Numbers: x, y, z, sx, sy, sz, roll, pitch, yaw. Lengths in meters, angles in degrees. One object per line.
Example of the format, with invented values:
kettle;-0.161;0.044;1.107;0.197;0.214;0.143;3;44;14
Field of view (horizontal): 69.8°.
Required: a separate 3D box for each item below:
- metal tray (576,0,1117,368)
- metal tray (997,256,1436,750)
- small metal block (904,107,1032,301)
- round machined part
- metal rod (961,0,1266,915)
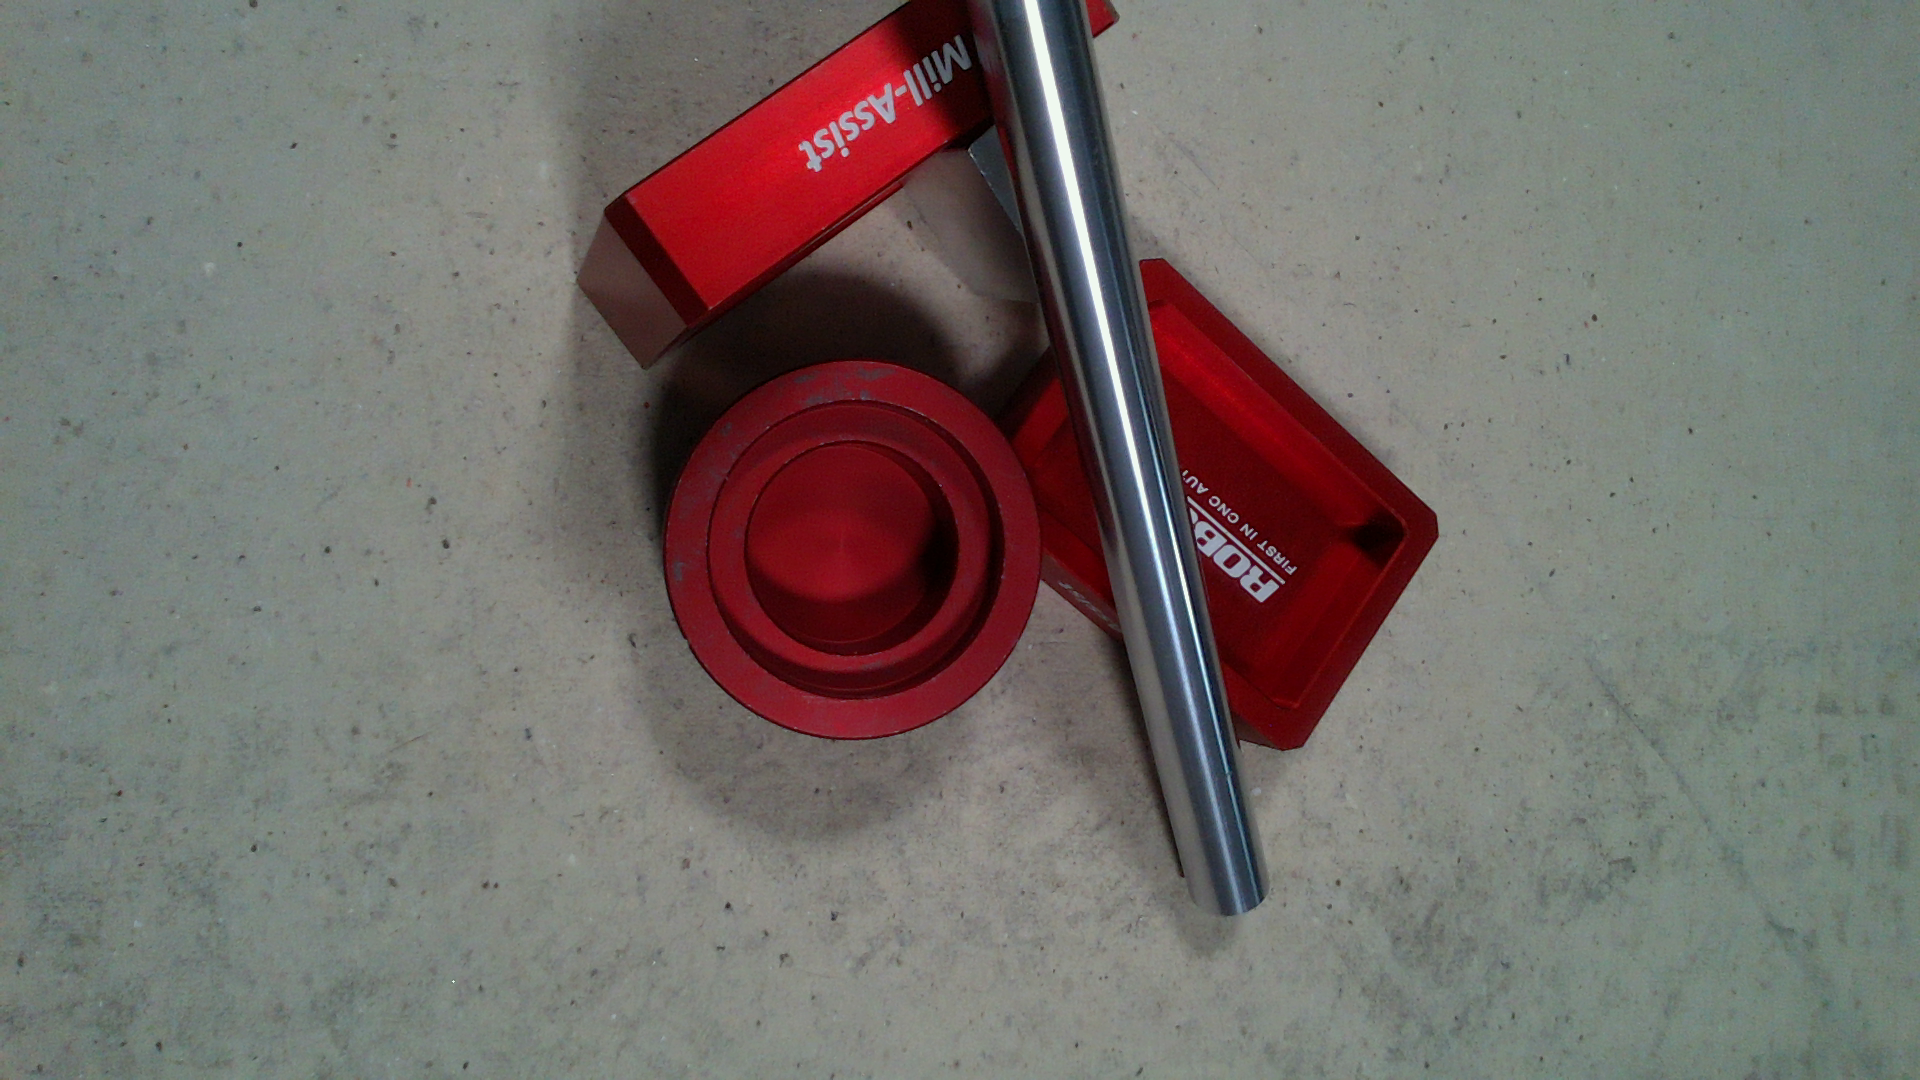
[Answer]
metal tray;-0.032;-0.097;0.347;0.130;0.090;0.030;-39;102;-16
metal tray;0.073;-0.010;0.417;0.130;0.030;0.090;39;78;-16
small metal block;0.011;-0.094;0.379;0.025;0.050;0.050;-44;118;-12
round machined part;-0.031;0.002;0.370;0.098;0.042;0.098;-1;93;-14
metal rod;0.043;-0.019;0.353;0.025;0.025;0.300;-28;121;-18
